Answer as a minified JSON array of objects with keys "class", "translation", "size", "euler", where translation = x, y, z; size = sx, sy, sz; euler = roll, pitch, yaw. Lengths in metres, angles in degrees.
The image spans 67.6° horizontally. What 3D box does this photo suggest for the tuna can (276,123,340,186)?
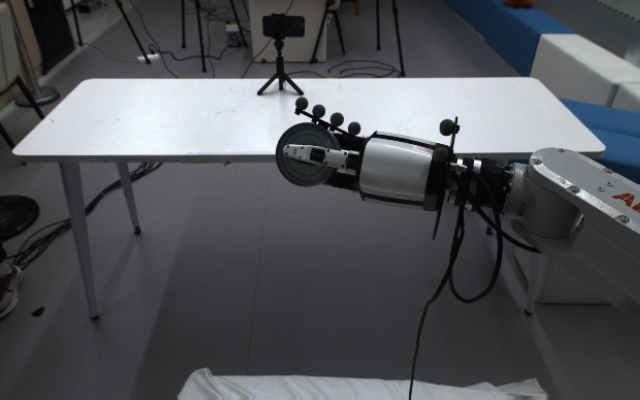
[{"class":"tuna can","translation":[-0.014,-0.061,0.658],"size":[0.085,0.085,0.034],"euler":[10,5,11]}]
